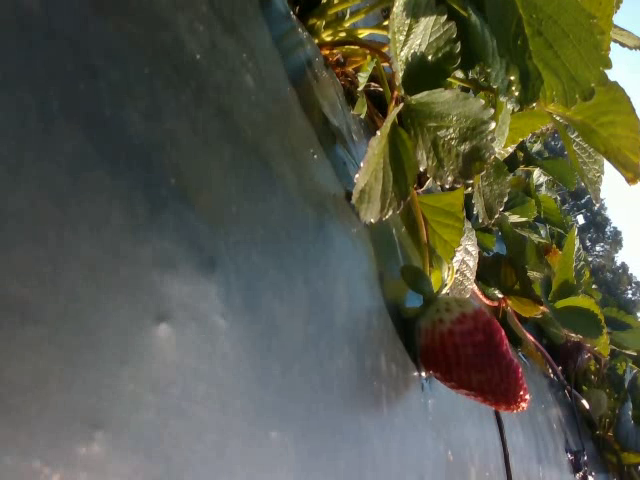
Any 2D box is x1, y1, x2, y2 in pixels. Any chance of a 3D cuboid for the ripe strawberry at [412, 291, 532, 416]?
[{"bbox_3d":[0.043,0.034,0.165,0.028,0.031,0.041,-4,41,-49],"label":"ripe strawberry"}]
